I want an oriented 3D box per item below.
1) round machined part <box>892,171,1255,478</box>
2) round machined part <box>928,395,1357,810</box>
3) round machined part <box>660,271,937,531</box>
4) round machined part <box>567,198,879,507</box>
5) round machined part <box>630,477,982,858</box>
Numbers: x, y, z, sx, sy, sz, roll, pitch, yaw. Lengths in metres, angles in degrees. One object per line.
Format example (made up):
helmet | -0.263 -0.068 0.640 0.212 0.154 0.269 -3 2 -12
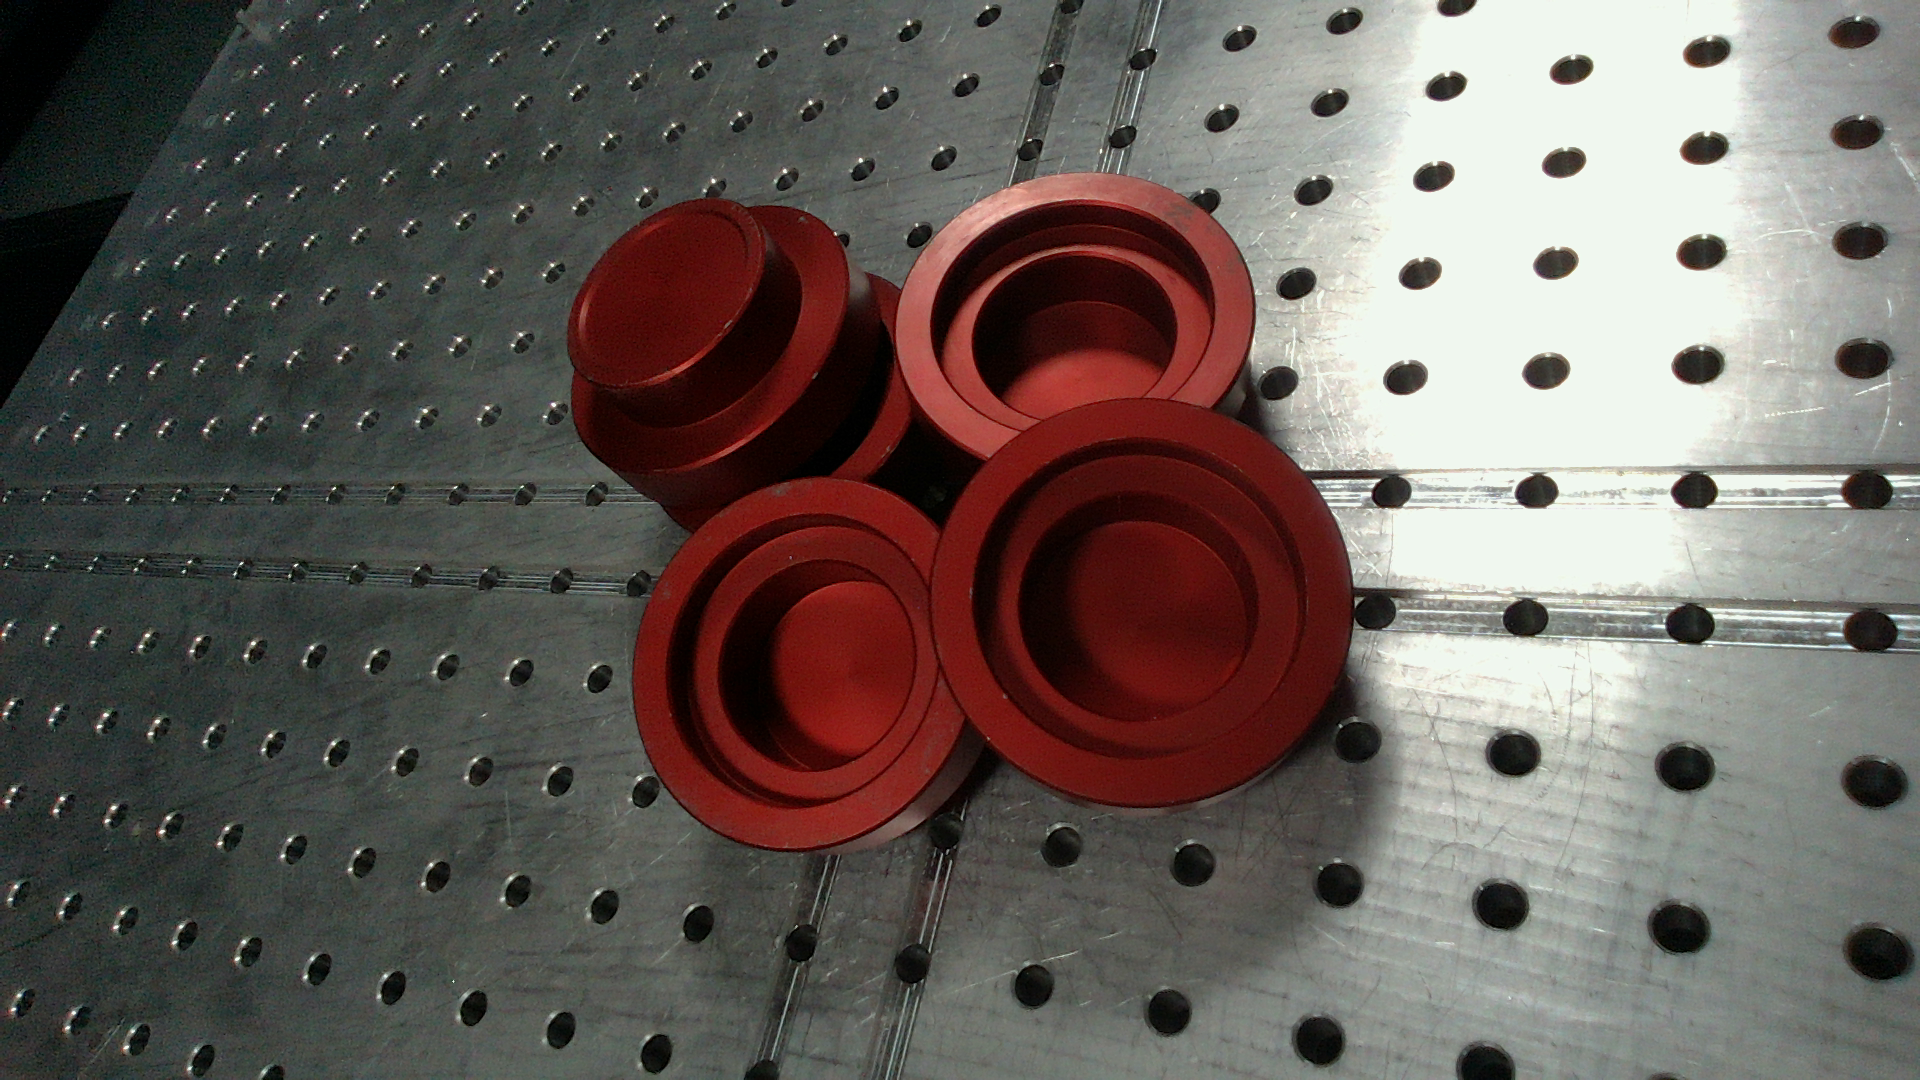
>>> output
round machined part | 0.033 -0.052 0.389 0.098 0.042 0.098 -4 63 8
round machined part | 0.044 0.018 0.336 0.098 0.042 0.098 -2 73 6
round machined part | -0.045 -0.033 0.430 0.098 0.042 0.098 -13 56 21
round machined part | -0.077 -0.062 0.411 0.098 0.042 0.098 -13 56 21
round machined part | -0.035 0.036 0.372 0.098 0.042 0.098 -5 74 17
